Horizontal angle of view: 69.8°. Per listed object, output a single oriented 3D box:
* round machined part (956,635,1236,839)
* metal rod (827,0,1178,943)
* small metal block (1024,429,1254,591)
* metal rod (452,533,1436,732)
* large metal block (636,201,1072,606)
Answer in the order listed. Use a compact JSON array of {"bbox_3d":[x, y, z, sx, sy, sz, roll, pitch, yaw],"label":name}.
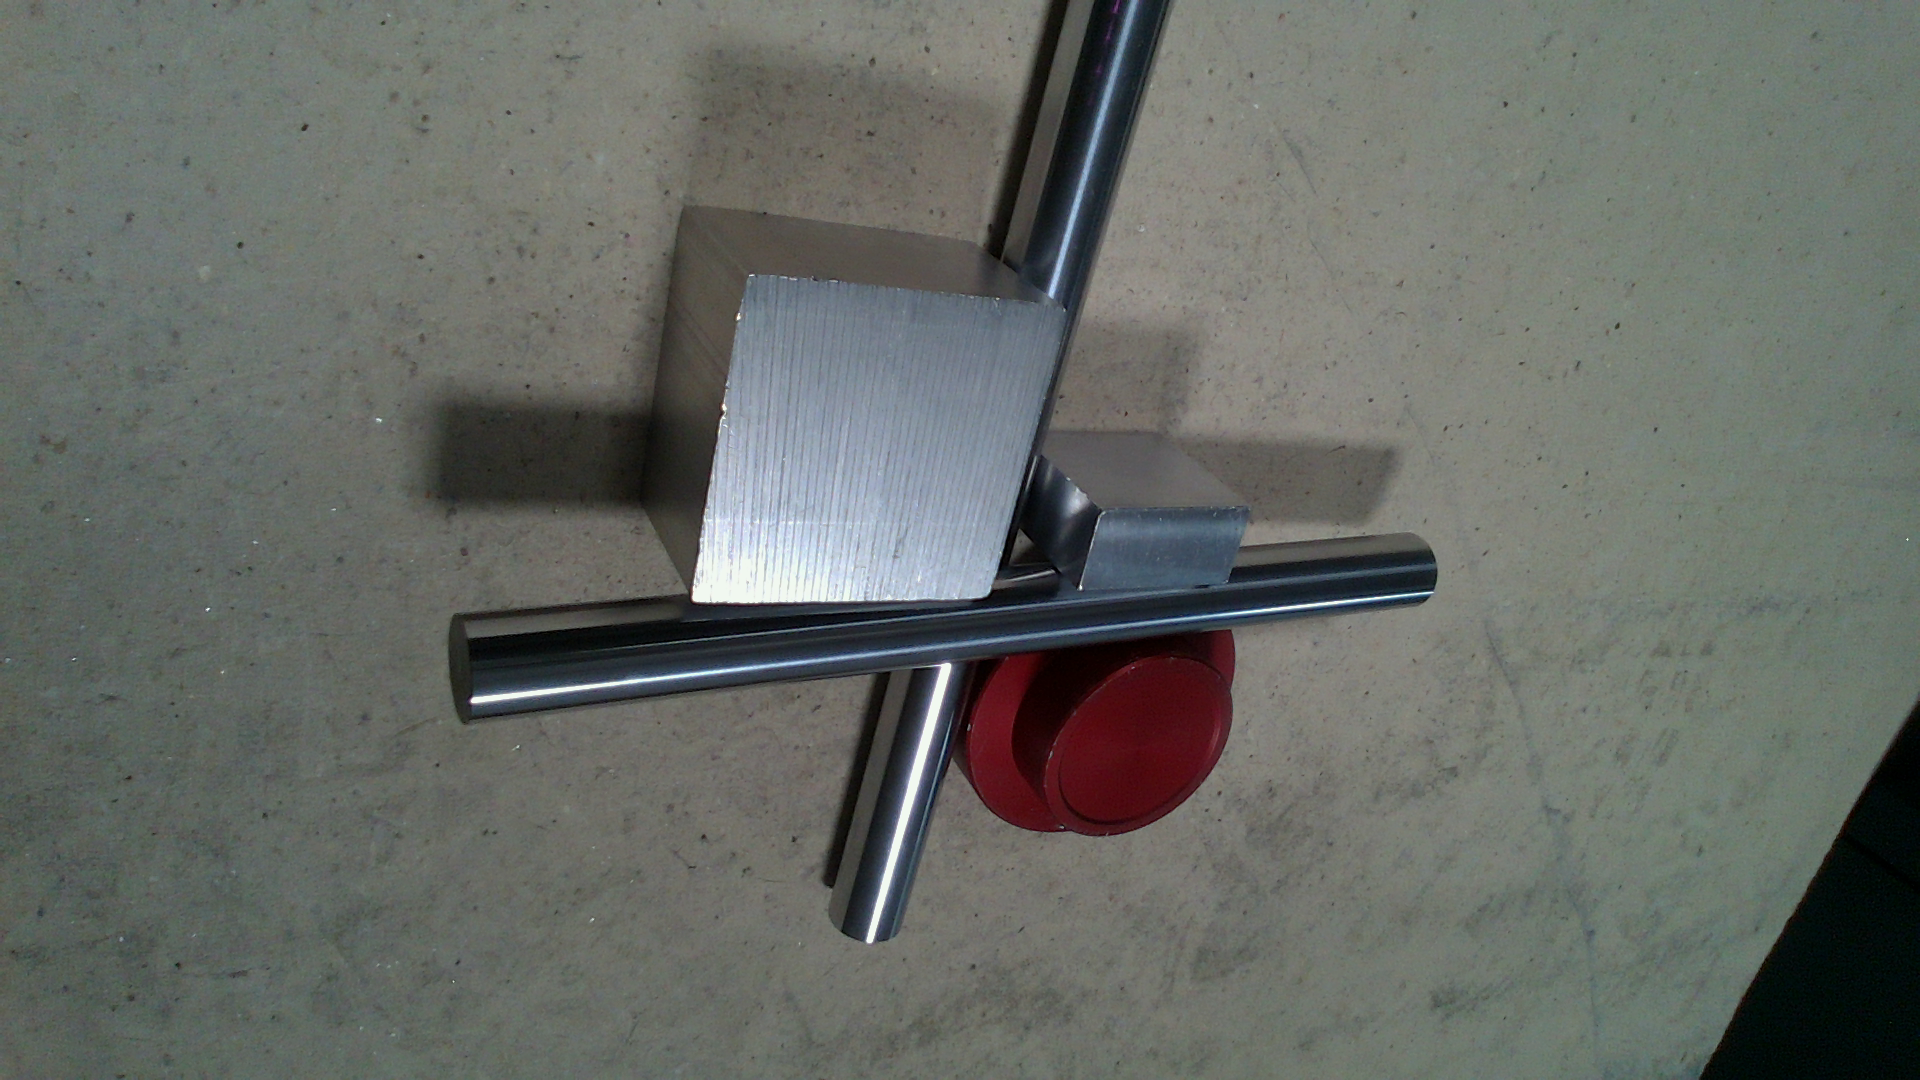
[{"bbox_3d":[0.047,0.055,0.436,0.098,0.042,0.098,-14,124,-21],"label":"round machined part"},{"bbox_3d":[0.006,-0.010,0.386,0.025,0.025,0.300,1,118,-29],"label":"metal rod"},{"bbox_3d":[0.046,-0.010,0.392,0.050,0.050,0.025,-1,119,-28],"label":"small metal block"},{"bbox_3d":[0.019,0.020,0.380,0.301,0.025,0.025,-4,121,-31],"label":"metal rod"},{"bbox_3d":[-0.029,-0.032,0.337,0.080,0.050,0.080,1,118,-29],"label":"large metal block"}]
